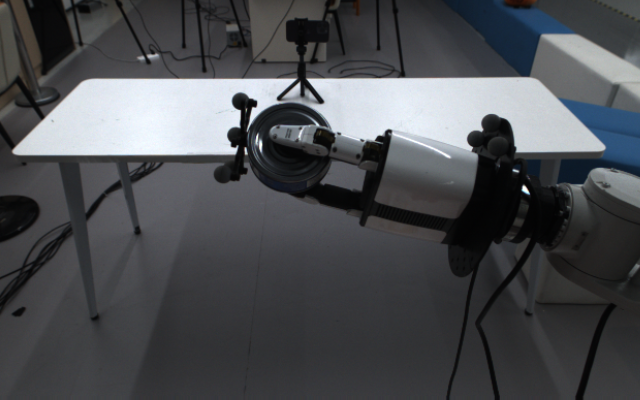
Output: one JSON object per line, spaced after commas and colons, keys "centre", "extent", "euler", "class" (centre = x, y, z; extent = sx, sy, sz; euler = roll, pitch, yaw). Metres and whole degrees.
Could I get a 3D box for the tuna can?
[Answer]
{"centre": [-0.025, -0.048, 0.477], "extent": [0.085, 0.034, 0.085], "euler": [1, 73, -5], "class": "tuna can"}
